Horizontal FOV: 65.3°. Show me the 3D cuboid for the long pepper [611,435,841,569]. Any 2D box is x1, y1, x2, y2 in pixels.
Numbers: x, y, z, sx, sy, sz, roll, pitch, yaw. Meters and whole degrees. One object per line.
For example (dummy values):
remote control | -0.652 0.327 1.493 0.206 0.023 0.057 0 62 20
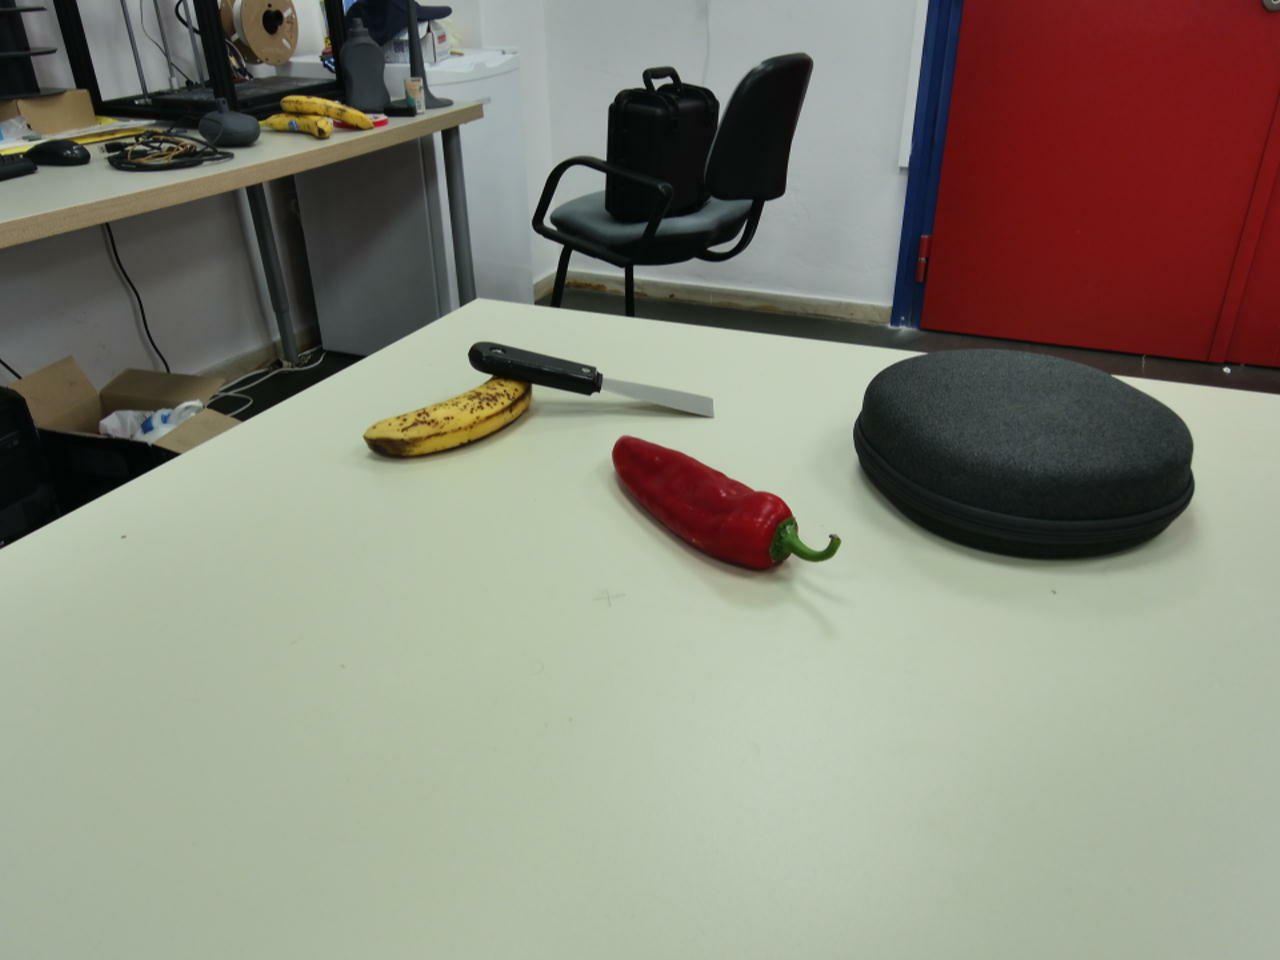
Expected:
long pepper | 0.039 0.011 0.610 0.050 0.043 0.211 -17 30 -30
